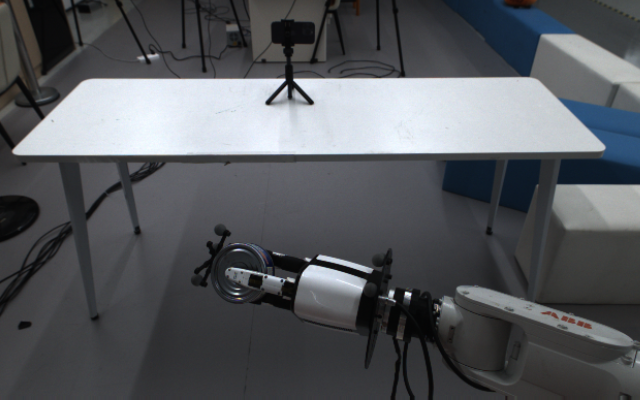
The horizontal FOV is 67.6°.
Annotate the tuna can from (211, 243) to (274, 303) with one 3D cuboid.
[{"bbox_3d":[-0.106,0.108,0.679,0.085,0.085,0.034,12,-4,14],"label":"tuna can"}]
